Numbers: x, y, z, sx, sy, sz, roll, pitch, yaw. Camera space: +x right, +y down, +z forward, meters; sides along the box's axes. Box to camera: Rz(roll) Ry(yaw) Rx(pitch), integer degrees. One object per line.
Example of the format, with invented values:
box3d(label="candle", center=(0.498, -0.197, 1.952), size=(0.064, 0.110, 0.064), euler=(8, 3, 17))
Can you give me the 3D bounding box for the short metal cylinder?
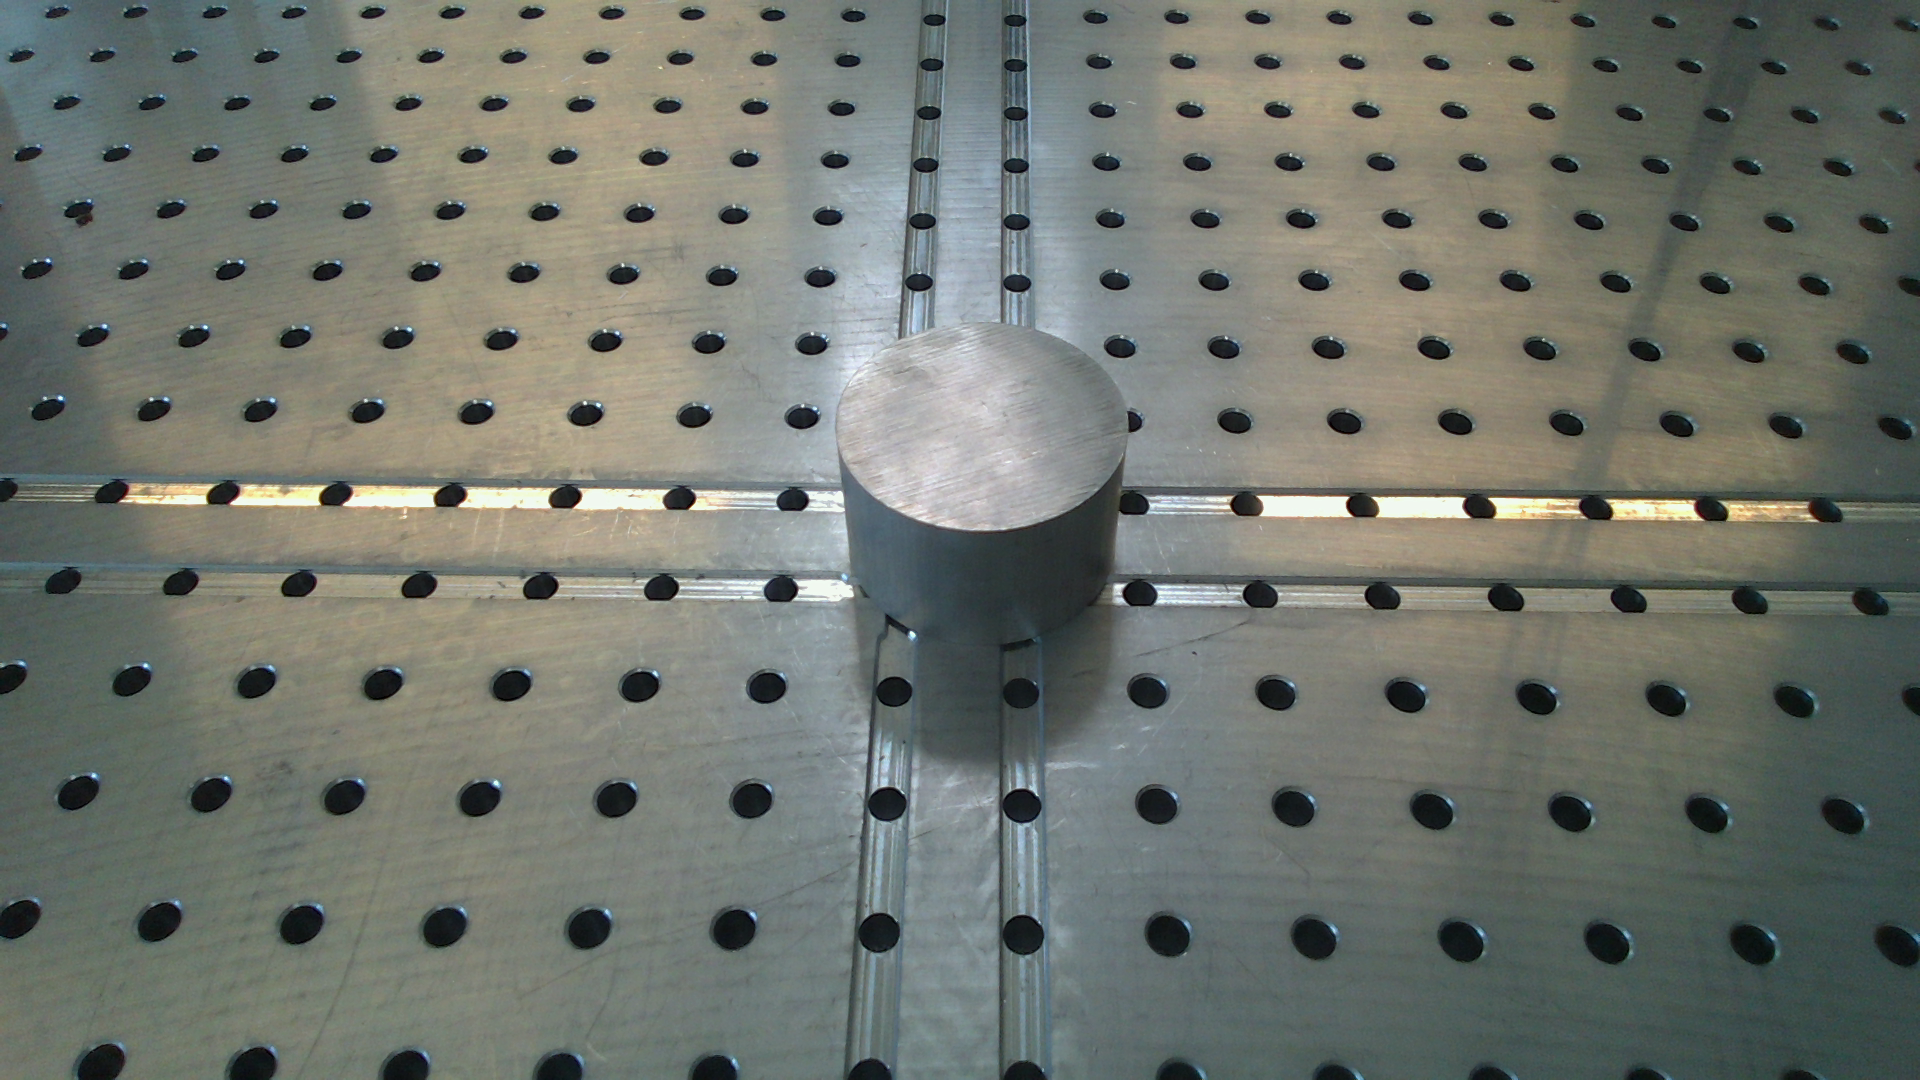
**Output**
box3d(label="short metal cylinder", center=(0.006, -0.017, 0.392), size=(0.080, 0.050, 0.080), euler=(0, 50, 0))
